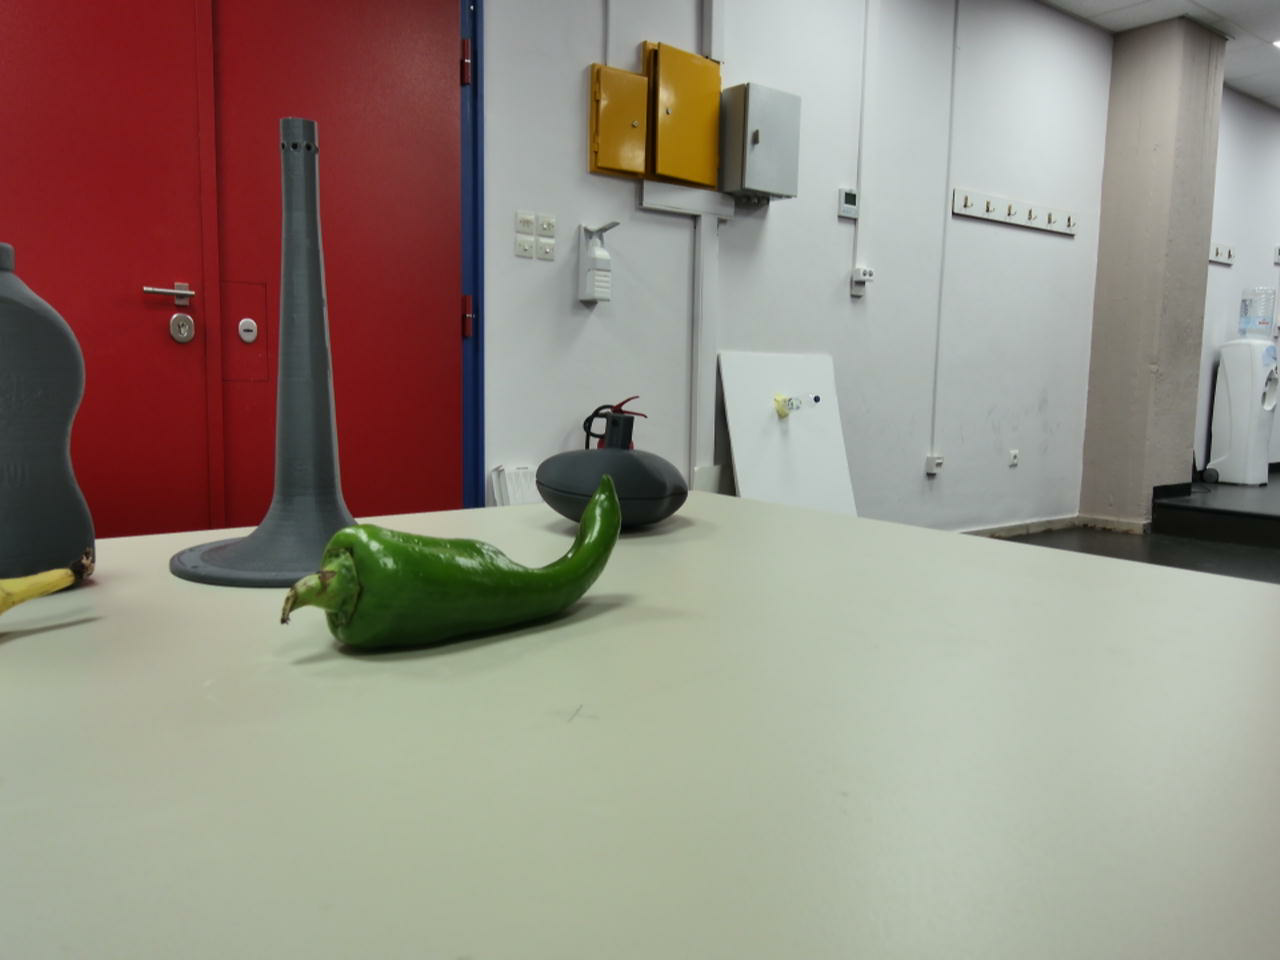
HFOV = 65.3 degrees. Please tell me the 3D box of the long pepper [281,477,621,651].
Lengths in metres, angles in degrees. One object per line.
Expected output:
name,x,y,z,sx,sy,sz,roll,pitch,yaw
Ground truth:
long pepper,-0.073,0.035,0.443,0.175,0.065,0.058,-4,5,-40
